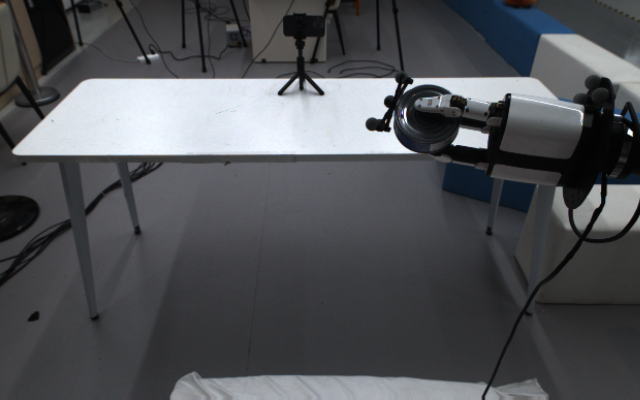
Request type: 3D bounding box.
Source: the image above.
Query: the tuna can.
[{"bbox_3d":[0.140,-0.108,0.630,0.085,0.034,0.085,-2,71,5],"label":"tuna can"}]
